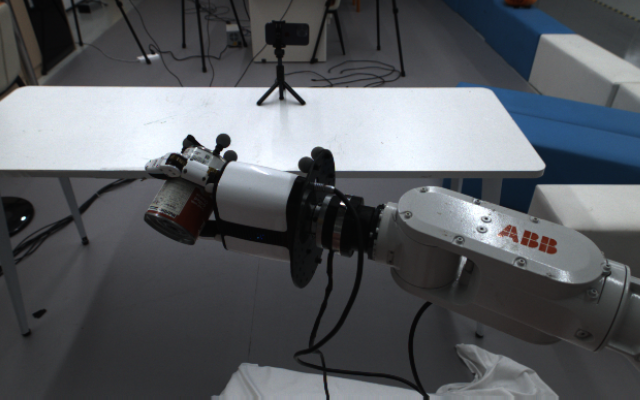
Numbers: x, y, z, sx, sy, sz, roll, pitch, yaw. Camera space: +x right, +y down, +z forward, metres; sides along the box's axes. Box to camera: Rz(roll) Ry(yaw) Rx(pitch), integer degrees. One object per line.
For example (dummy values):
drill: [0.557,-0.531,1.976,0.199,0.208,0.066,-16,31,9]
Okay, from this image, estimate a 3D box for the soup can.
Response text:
soup can: [-0.156,-0.006,0.583,0.067,0.067,0.101,15,63,18]
